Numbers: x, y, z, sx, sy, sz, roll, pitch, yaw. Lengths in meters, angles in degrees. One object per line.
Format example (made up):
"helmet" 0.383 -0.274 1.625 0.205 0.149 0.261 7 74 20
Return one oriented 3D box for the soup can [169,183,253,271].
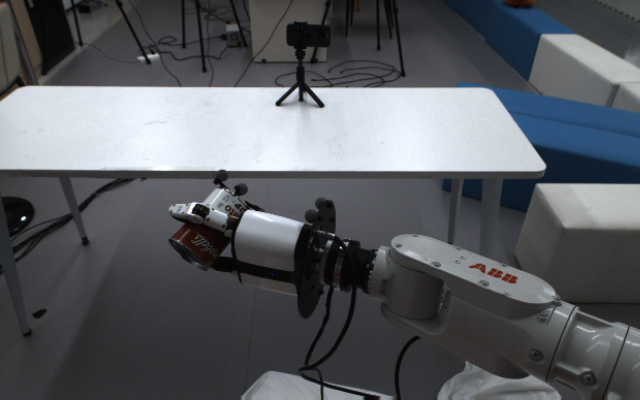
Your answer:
"soup can" -0.152 0.040 0.677 0.067 0.067 0.101 23 61 27
